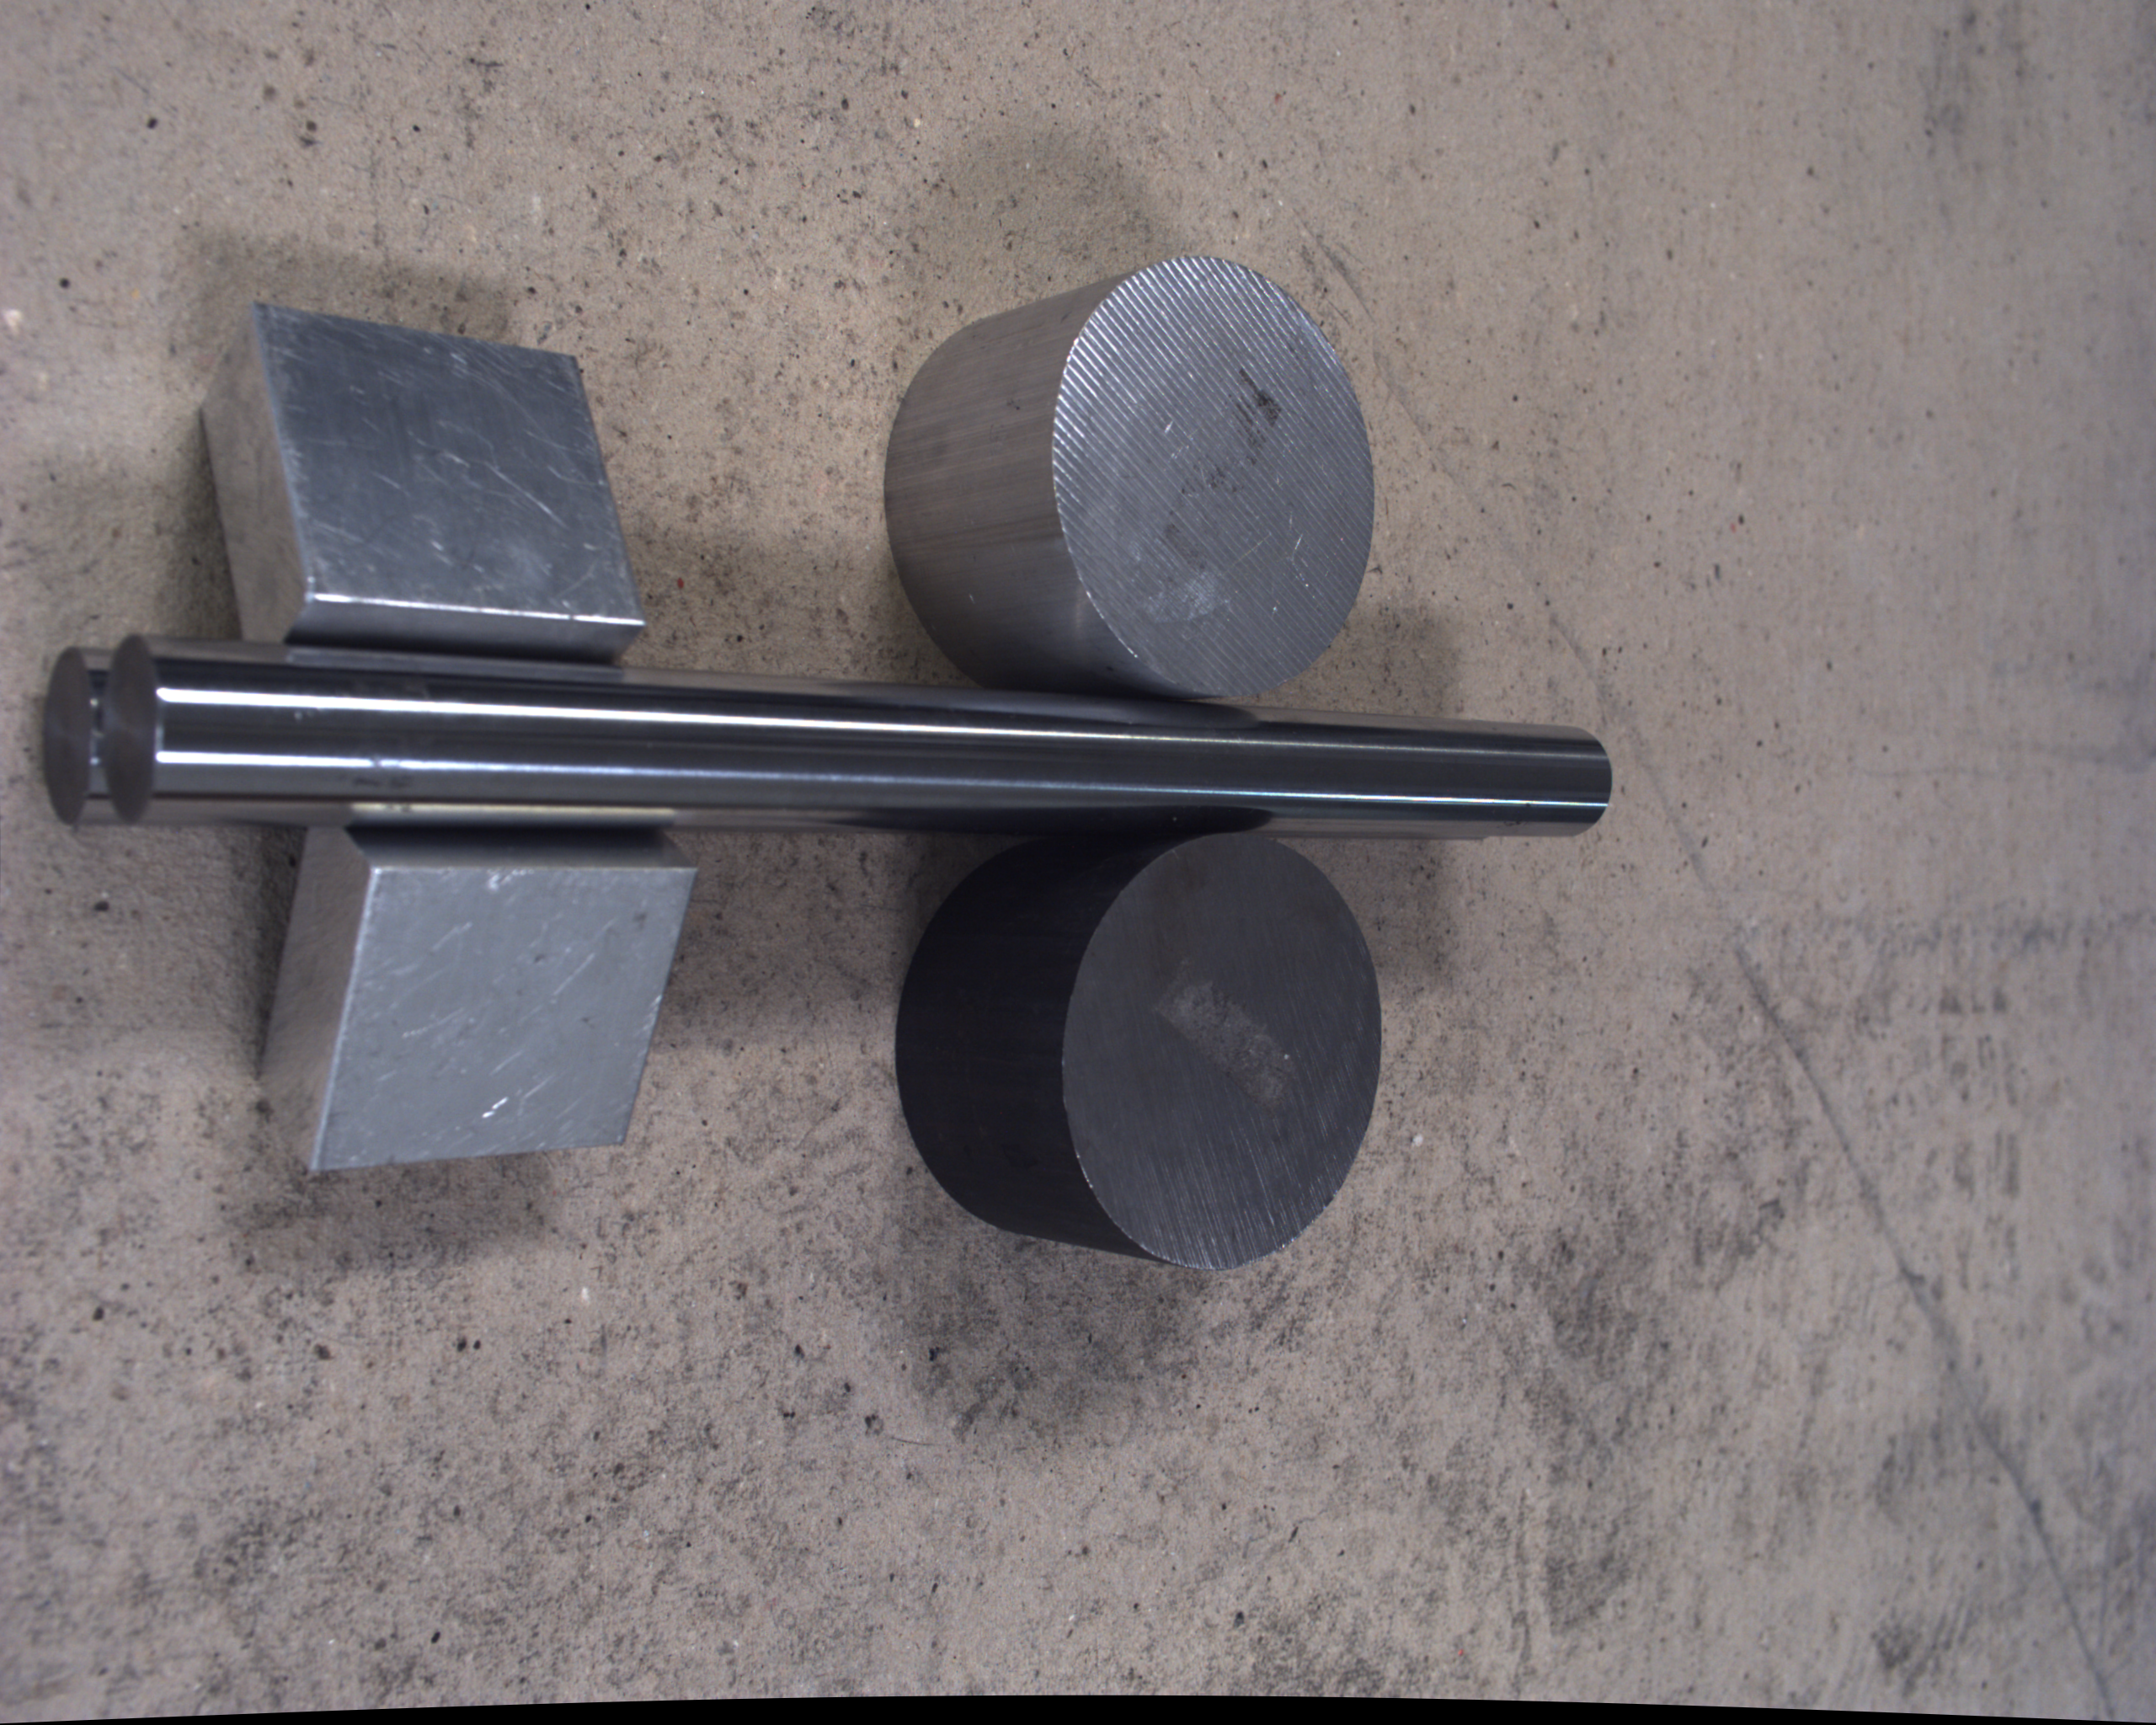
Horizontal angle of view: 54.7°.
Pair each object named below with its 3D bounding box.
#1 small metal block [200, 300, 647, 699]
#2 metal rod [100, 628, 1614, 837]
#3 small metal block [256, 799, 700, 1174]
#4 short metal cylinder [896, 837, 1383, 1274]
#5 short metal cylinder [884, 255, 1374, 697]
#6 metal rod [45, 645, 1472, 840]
[{"bbox_3d":[-0.098,-0.052,0.312,0.050,0.025,0.050,0,63,-40],"label":"small metal block"},{"bbox_3d":[-0.007,-0.018,0.368,0.302,0.025,0.025,0,90,-40],"label":"metal rod"},{"bbox_3d":[-0.091,0.017,0.317,0.050,0.025,0.050,1,116,-41],"label":"small metal block"},{"bbox_3d":[0.013,0.035,0.400,0.081,0.050,0.079,0,90,-40],"label":"short metal cylinder"},{"bbox_3d":[0.011,-0.070,0.398,0.081,0.050,0.079,0,90,-40],"label":"short metal cylinder"},{"bbox_3d":[-0.024,-0.017,0.386,0.302,0.025,0.025,0,90,-40],"label":"metal rod"}]
